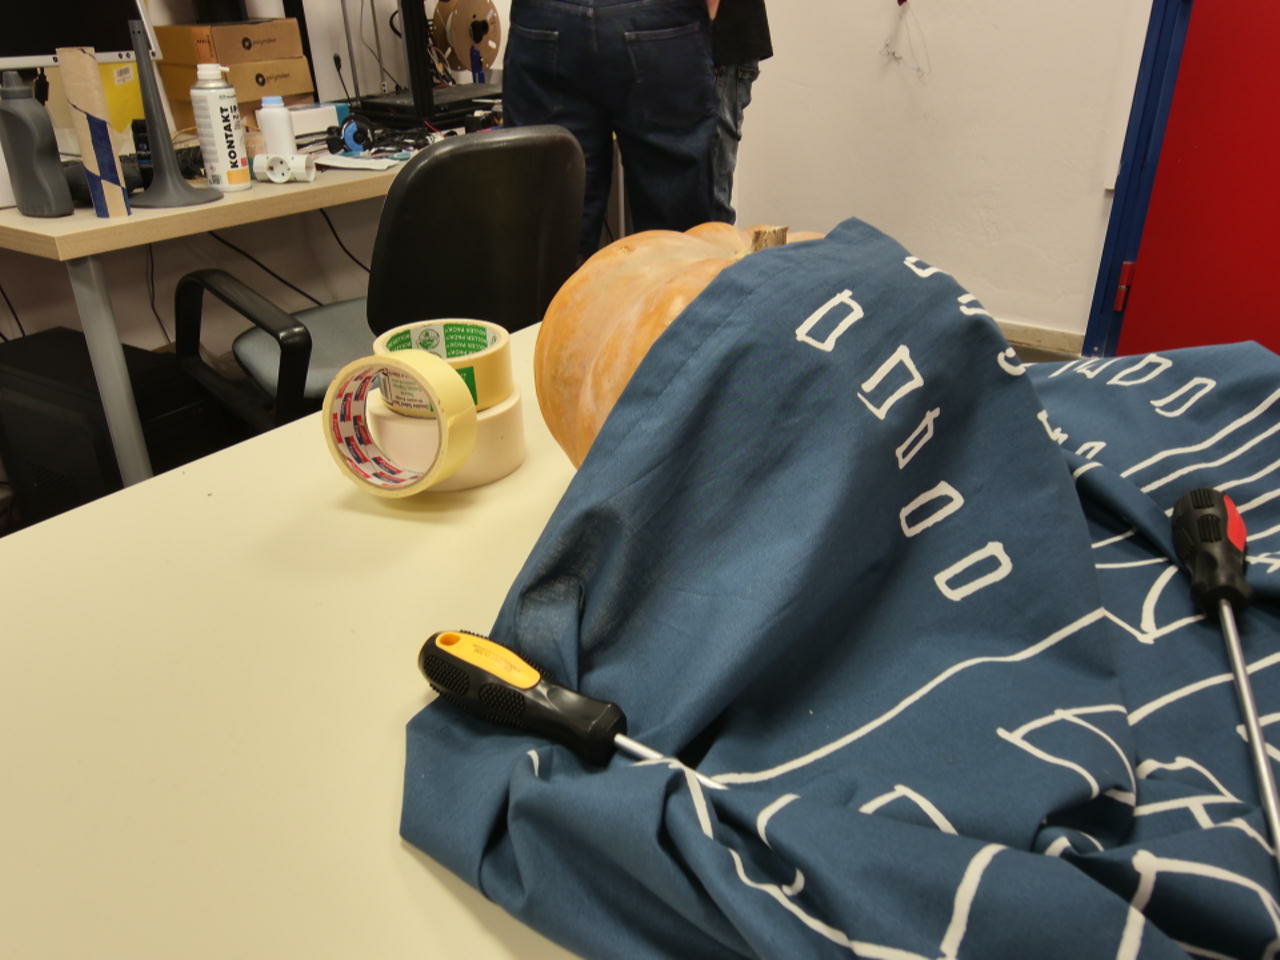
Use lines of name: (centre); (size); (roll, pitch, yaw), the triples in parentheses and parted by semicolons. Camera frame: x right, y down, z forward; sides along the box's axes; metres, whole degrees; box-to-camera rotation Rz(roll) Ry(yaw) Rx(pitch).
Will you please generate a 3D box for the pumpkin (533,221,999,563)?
pumpkin: (0.067, -0.061, 0.603); (0.277, 0.181, 0.277); (0, 25, 0)
